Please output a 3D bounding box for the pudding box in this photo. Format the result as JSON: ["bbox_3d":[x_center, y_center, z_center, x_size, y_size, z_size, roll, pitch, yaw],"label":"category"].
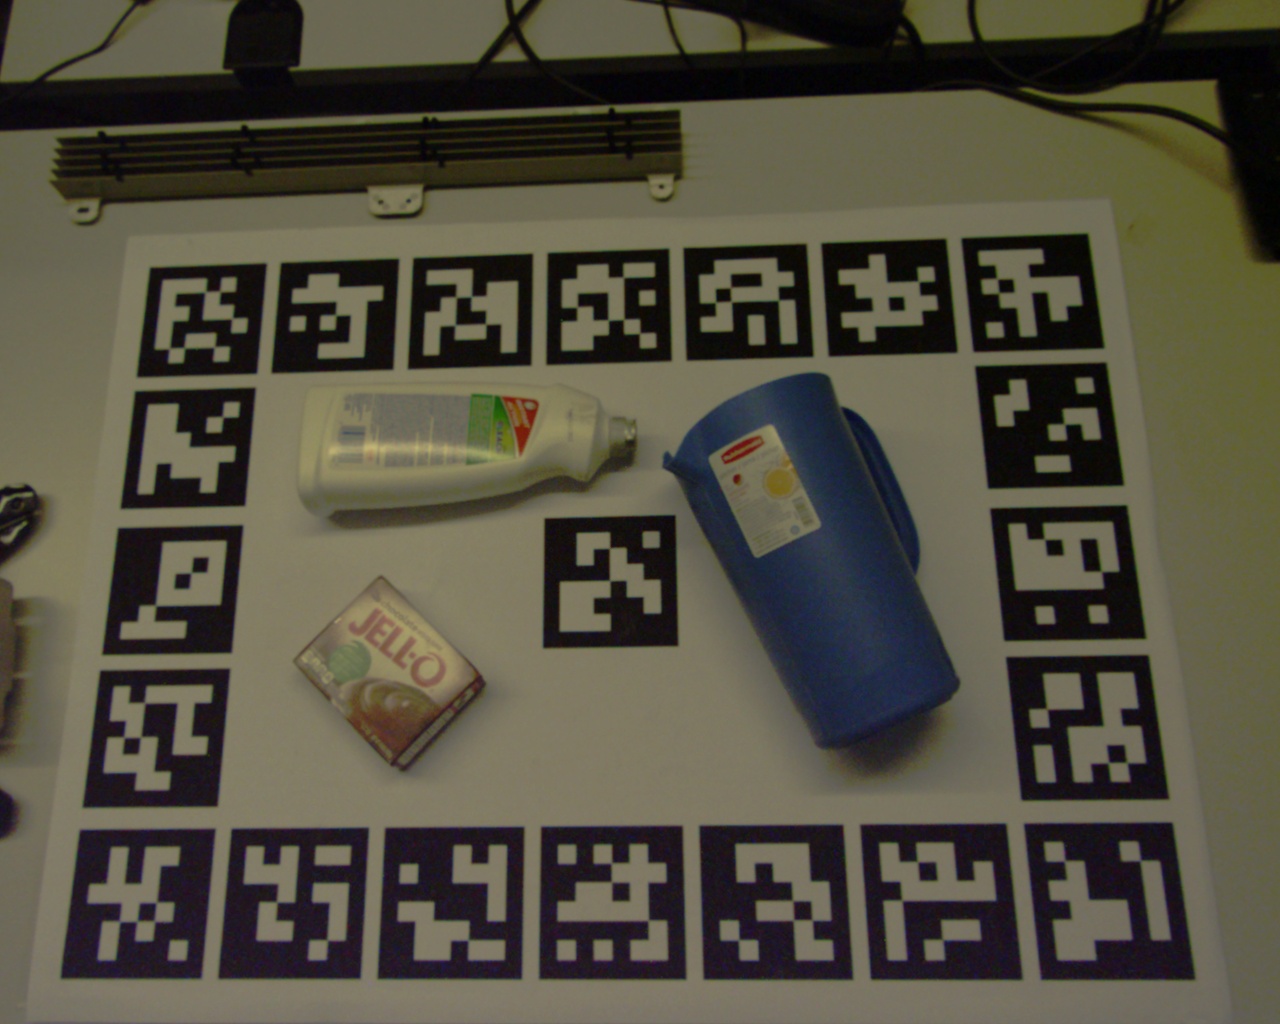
[{"bbox_3d":[-0.194,0.123,0.865,0.089,0.038,0.114,-43,78,-15],"label":"pudding box"}]

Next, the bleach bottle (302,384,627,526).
[{"bbox_3d":[-0.135,-0.048,0.903,0.251,0.068,0.103,-4,78,0],"label":"bleach bottle"}]

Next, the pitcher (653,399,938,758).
[{"bbox_3d":[0.125,0.047,0.844,0.186,0.134,0.243,-17,77,-38],"label":"pitcher"}]
